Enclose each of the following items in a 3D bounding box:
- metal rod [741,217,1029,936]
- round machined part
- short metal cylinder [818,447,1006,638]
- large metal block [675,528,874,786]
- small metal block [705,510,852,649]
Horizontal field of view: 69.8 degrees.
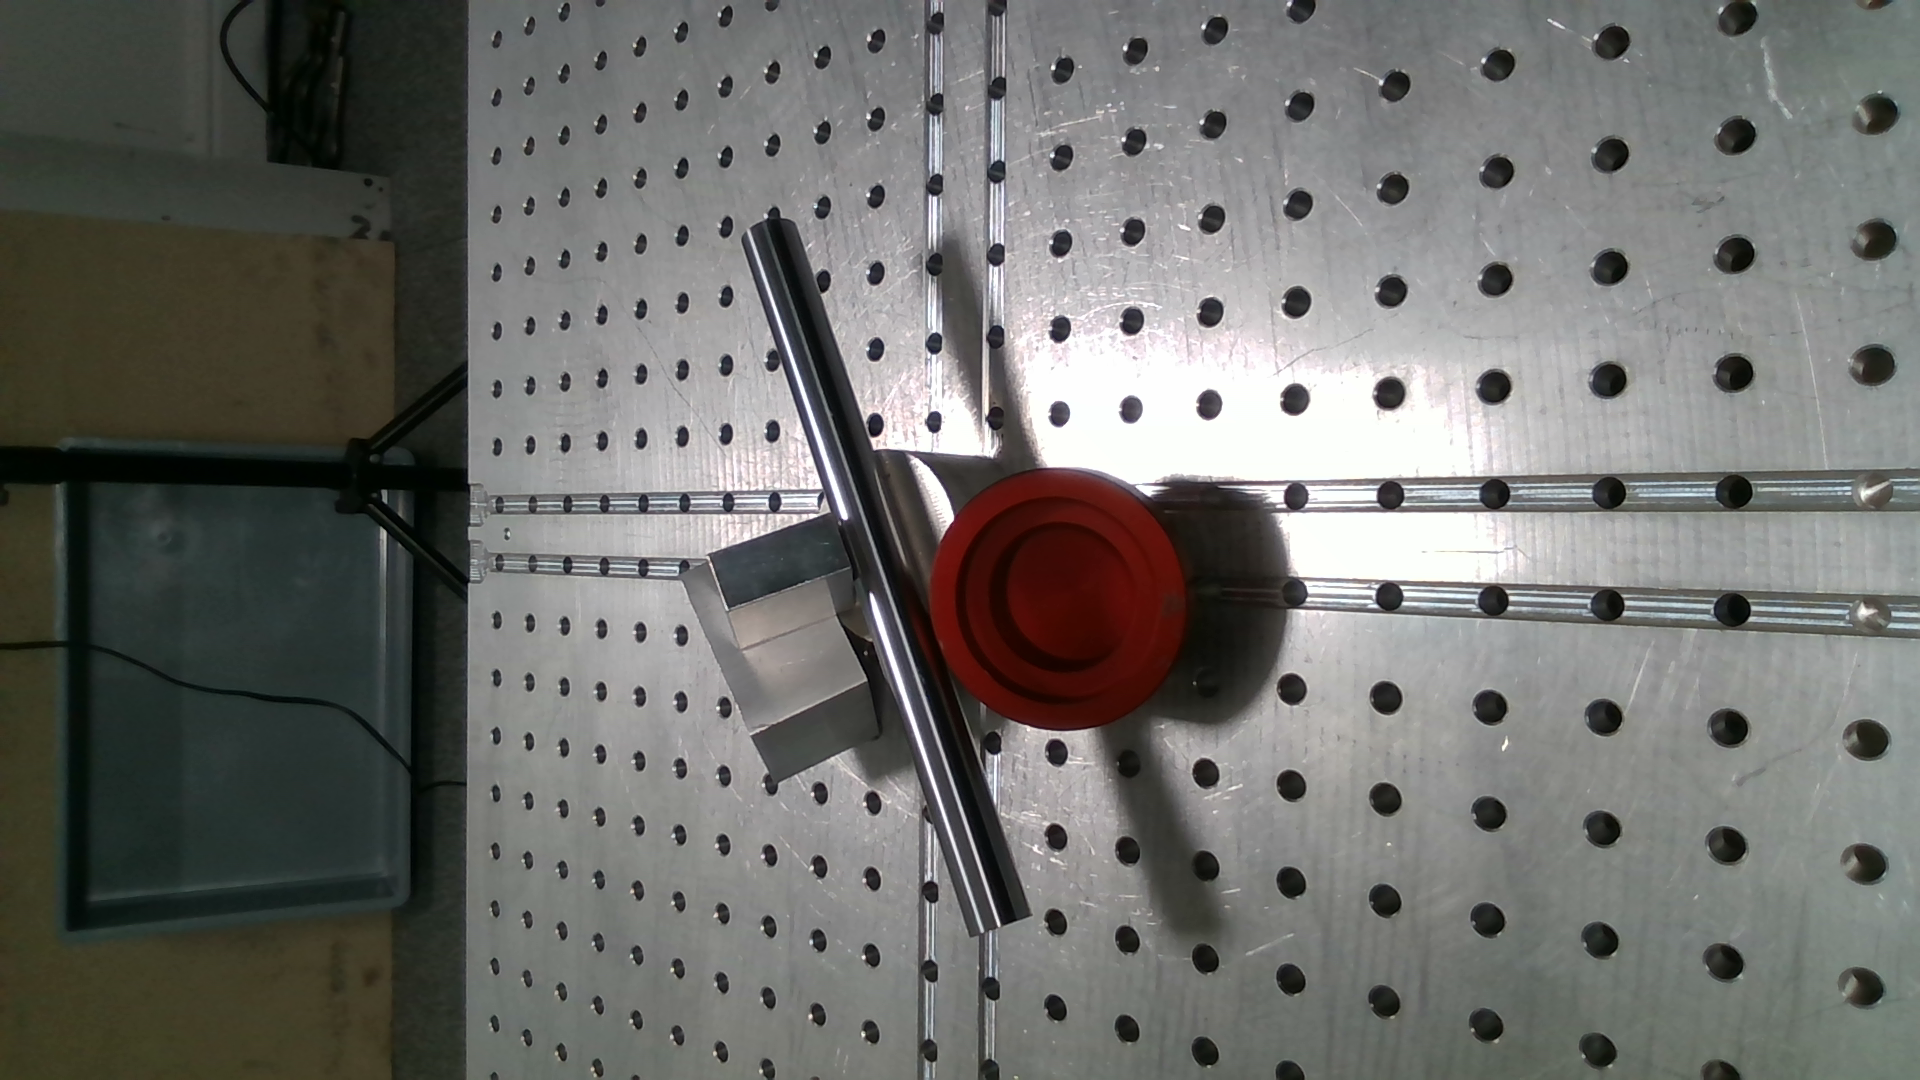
[{"bbox_3d":[-0.033,0.006,0.547,0.025,0.025,0.299,-31,71,36],"label":"metal rod"},{"bbox_3d":[0.041,0.020,0.525,0.098,0.042,0.098,2,97,18],"label":"round machined part"},{"bbox_3d":[-0.016,0.002,0.581,0.080,0.050,0.080,0,91,40],"label":"short metal cylinder"},{"bbox_3d":[-0.080,0.052,0.607,0.080,0.050,0.080,62,169,22],"label":"large metal block"},{"bbox_3d":[-0.071,0.017,0.549,0.050,0.050,0.025,100,149,-68],"label":"small metal block"}]
